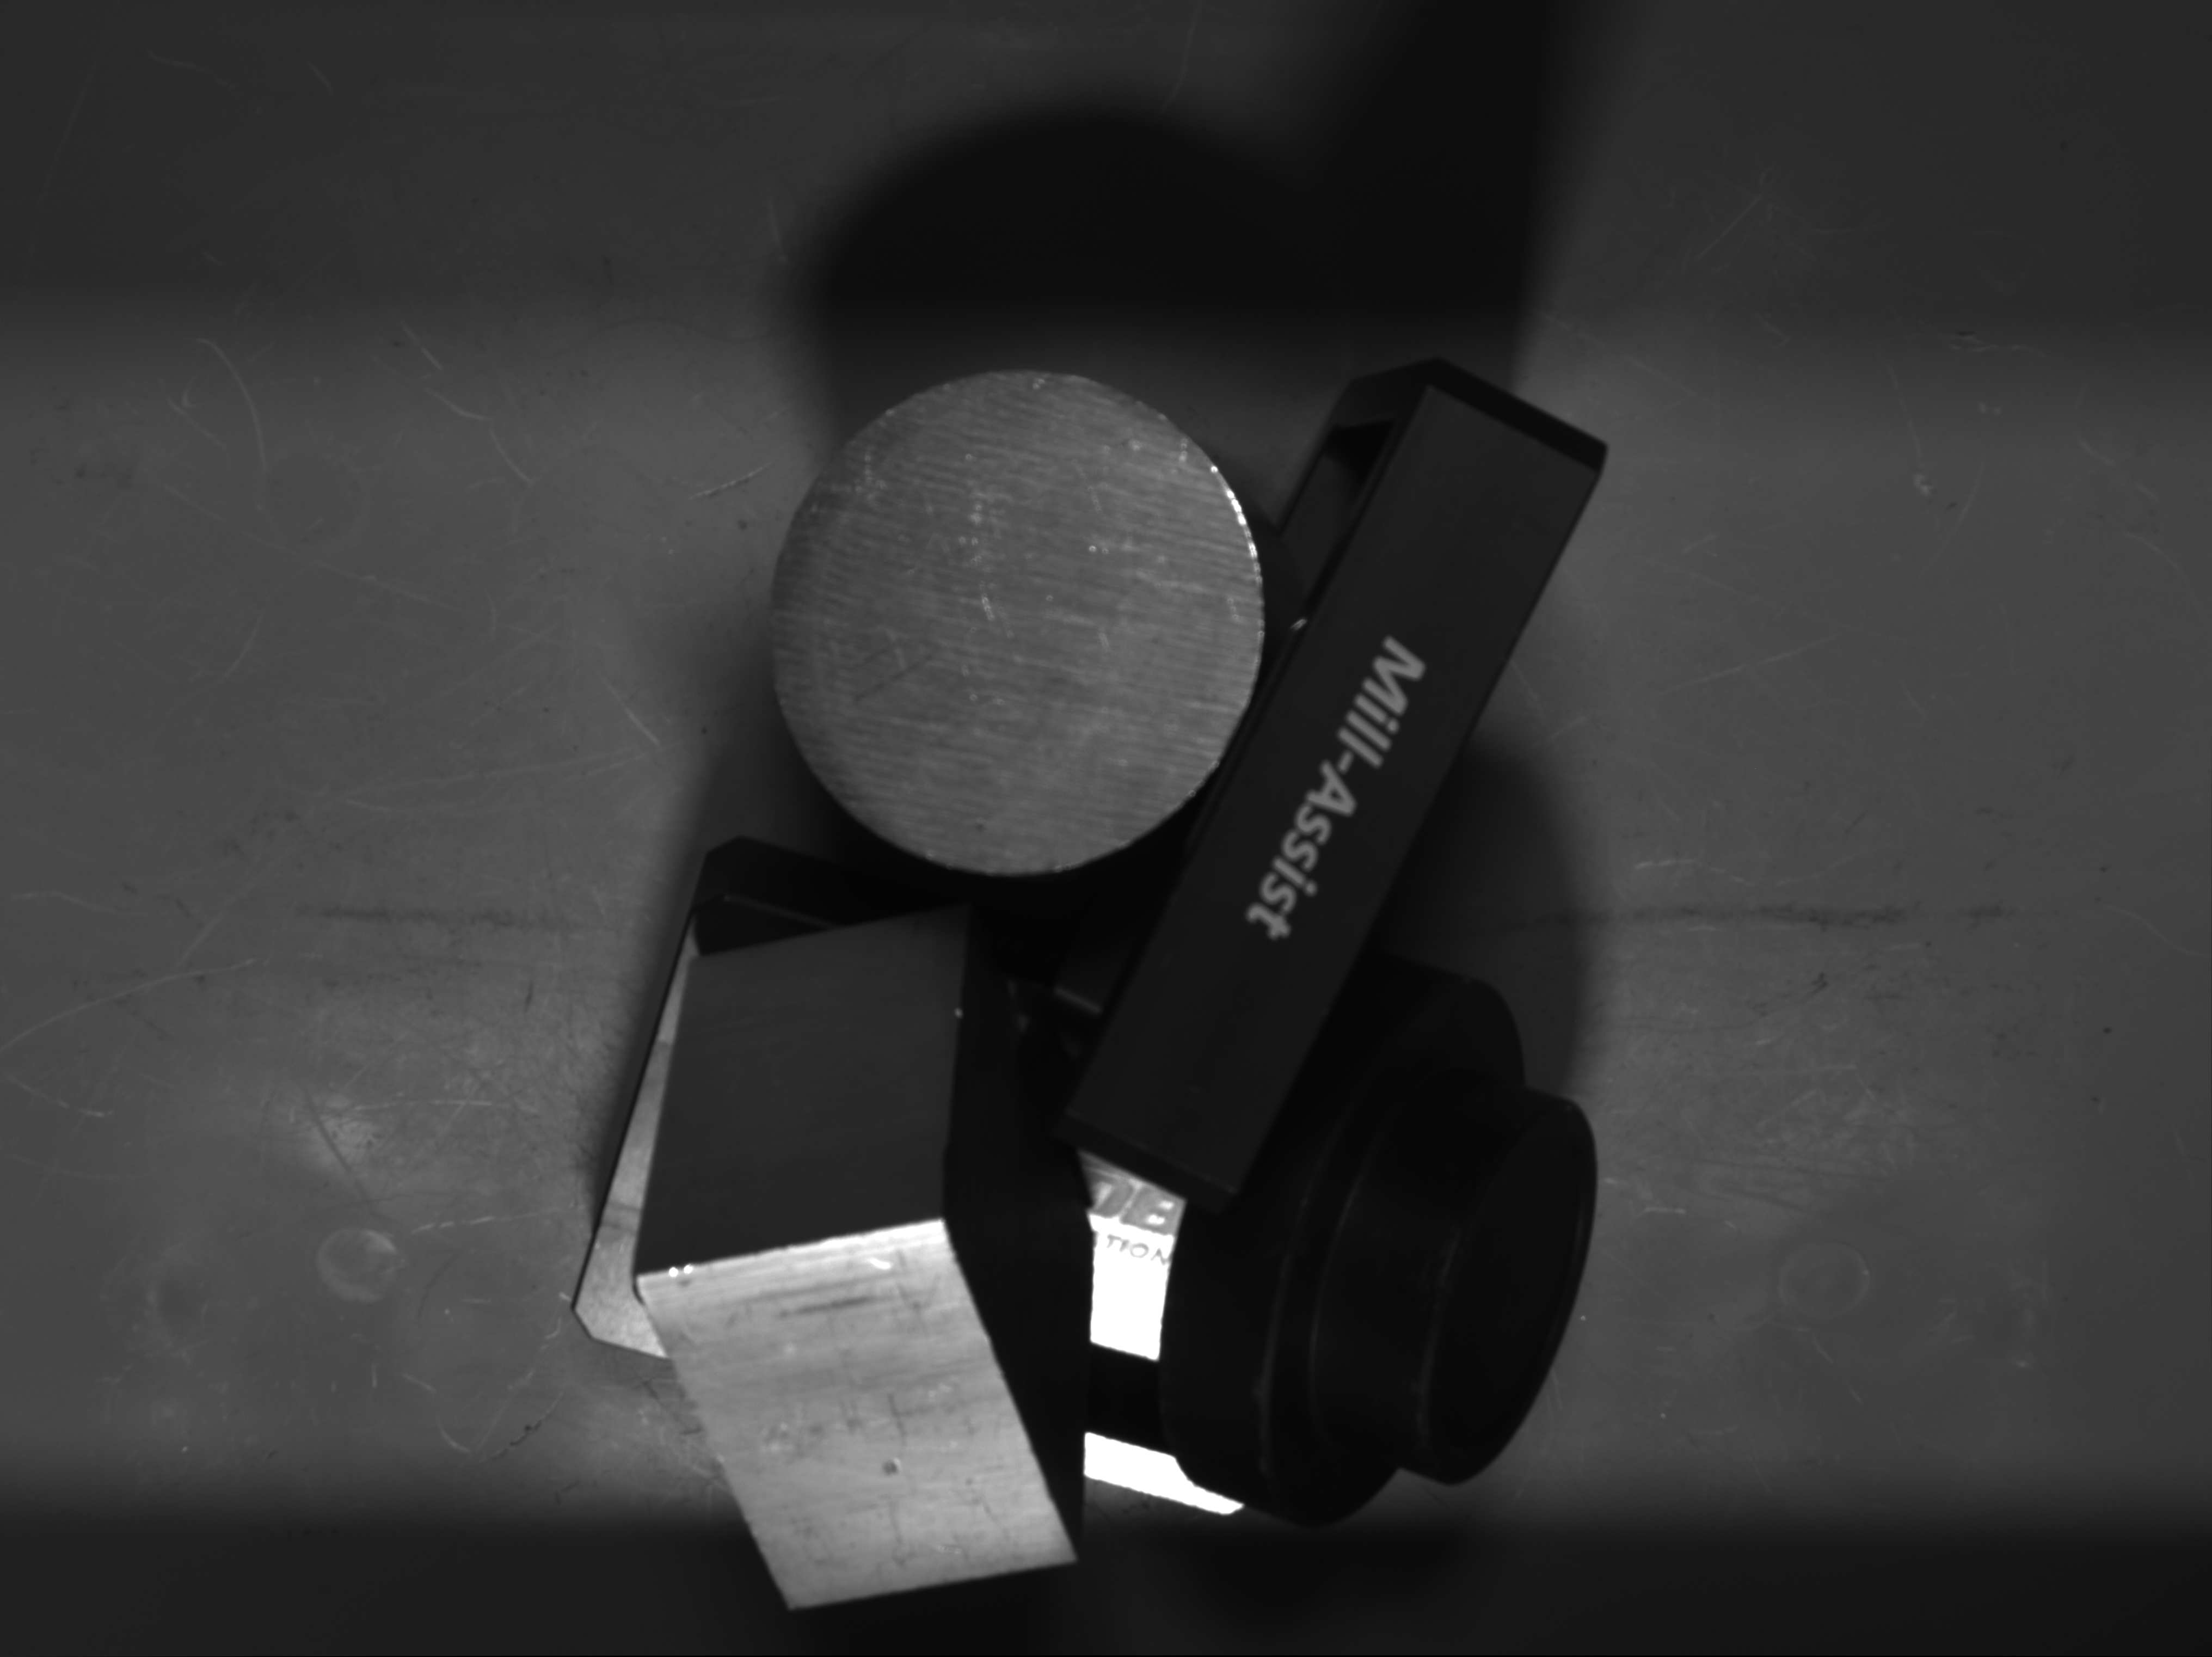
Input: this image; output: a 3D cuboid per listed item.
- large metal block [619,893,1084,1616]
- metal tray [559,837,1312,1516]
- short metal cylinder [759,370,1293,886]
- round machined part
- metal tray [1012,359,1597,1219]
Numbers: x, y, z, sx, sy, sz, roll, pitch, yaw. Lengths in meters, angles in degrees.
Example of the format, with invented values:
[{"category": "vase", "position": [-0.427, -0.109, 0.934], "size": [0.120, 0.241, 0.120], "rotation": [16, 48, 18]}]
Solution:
[{"category": "large metal block", "position": [-0.039, 0.071, 0.613], "size": [0.050, 0.080, 0.080], "rotation": [-12, 126, 10]}, {"category": "metal tray", "position": [-0.024, 0.064, 0.661], "size": [0.130, 0.030, 0.090], "rotation": [16, 109, -6]}, {"category": "short metal cylinder", "position": [-0.011, -0.031, 0.601], "size": [0.080, 0.050, 0.080], "rotation": [-1, 87, 11]}, {"category": "round machined part", "position": [0.050, 0.074, 0.627], "size": [0.042, 0.098, 0.098], "rotation": [16, 112, 26]}, {"category": "metal tray", "position": [0.029, -0.009, 0.588], "size": [0.030, 0.090, 0.130], "rotation": [26, 92, -6]}]
